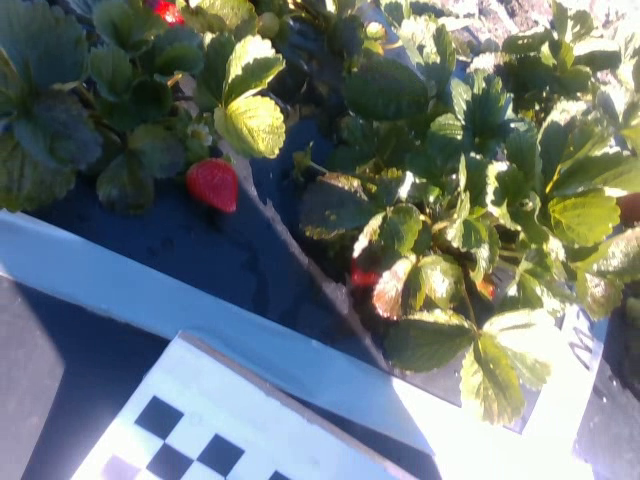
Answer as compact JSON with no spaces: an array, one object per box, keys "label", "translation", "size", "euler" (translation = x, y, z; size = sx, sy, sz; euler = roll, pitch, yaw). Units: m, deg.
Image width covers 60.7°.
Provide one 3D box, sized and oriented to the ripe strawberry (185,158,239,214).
[{"label":"ripe strawberry","translation":[-0.081,-0.042,0.440],"size":[0.045,0.058,0.042],"euler":[-27,-12,3]}]
